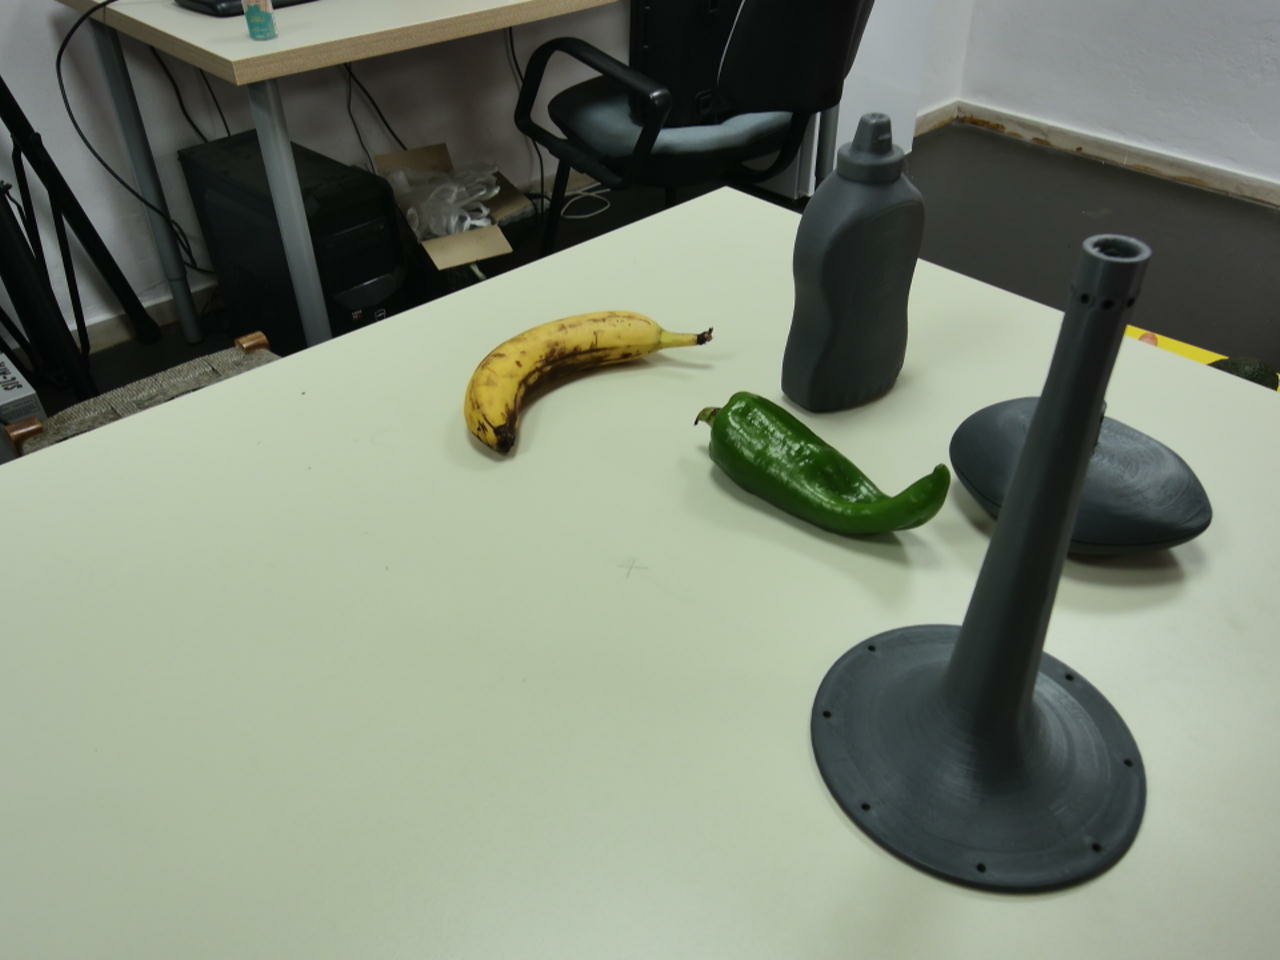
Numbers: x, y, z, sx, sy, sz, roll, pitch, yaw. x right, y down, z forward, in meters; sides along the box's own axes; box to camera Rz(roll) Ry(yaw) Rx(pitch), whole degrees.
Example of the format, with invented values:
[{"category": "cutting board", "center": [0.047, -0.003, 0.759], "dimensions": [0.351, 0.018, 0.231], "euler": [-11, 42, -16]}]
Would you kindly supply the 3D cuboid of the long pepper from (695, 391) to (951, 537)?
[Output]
[{"category": "long pepper", "center": [0.099, -0.013, 0.597], "dimensions": [0.058, 0.065, 0.175], "euler": [-29, 45, -33]}]
